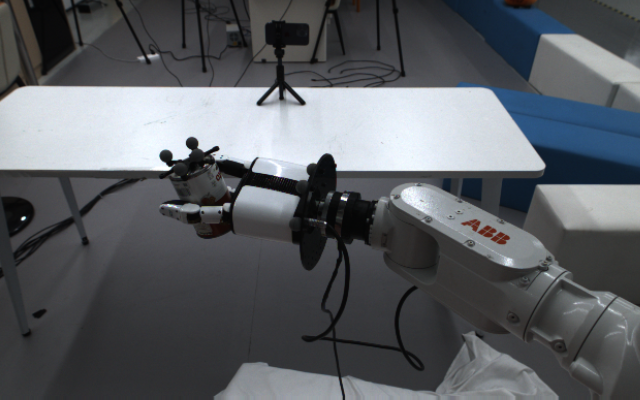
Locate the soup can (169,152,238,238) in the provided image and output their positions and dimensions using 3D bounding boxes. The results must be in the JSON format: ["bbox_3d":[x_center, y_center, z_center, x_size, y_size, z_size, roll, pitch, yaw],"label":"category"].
[{"bbox_3d":[-0.161,-0.004,0.683,0.067,0.101,0.067,-13,30,8],"label":"soup can"}]
